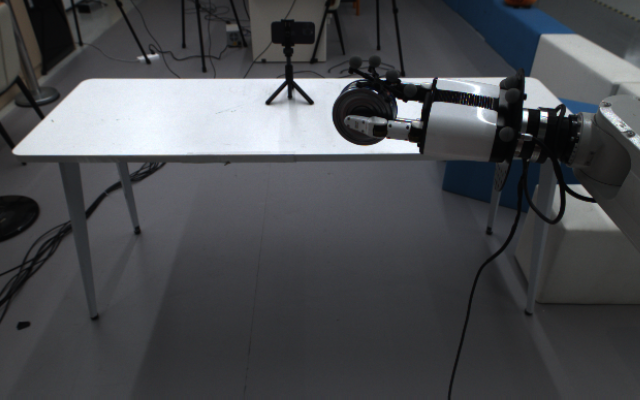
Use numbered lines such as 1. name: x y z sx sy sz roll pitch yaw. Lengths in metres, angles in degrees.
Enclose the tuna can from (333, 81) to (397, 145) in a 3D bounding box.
1. tuna can: 0.064 -0.113 0.660 0.085 0.085 0.034 12 35 14
